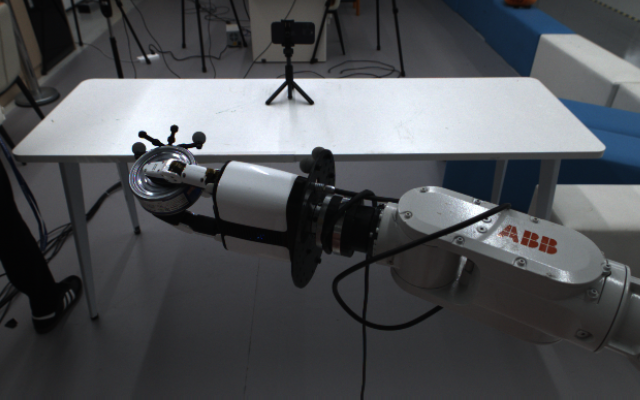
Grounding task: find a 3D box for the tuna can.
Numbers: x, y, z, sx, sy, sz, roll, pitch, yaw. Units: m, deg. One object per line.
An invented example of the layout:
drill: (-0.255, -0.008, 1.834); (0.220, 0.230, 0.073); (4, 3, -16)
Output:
tuna can: (-0.185, -0.018, 0.595); (0.085, 0.034, 0.085); (-3, 60, 5)
